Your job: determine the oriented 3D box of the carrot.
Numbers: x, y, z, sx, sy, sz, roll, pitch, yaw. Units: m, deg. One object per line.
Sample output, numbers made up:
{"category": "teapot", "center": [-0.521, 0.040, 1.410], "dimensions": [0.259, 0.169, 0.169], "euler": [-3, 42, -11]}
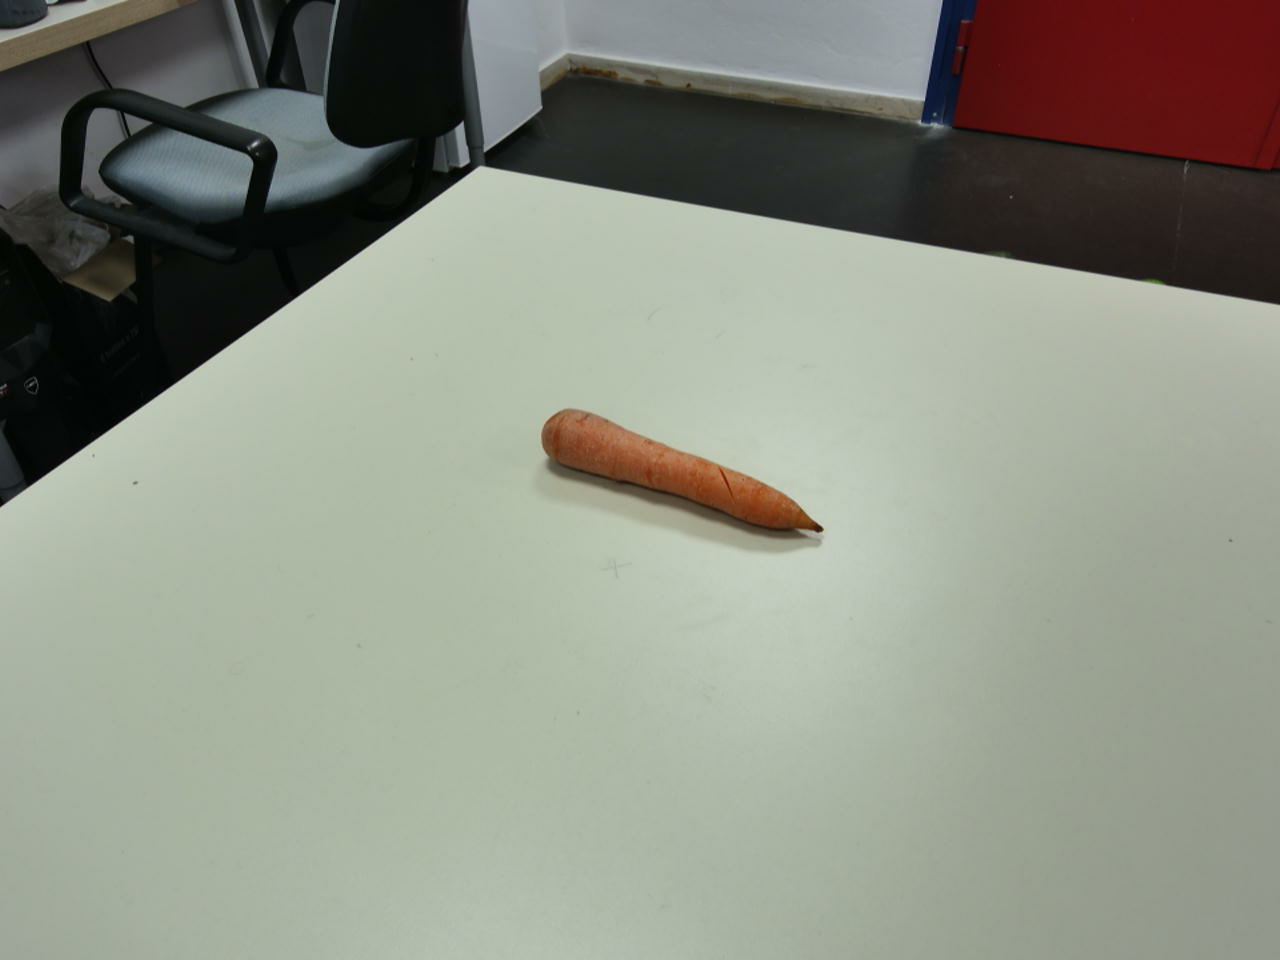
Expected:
{"category": "carrot", "center": [0.026, -0.007, 0.643], "dimensions": [0.196, 0.041, 0.039], "euler": [16, 41, 19]}
